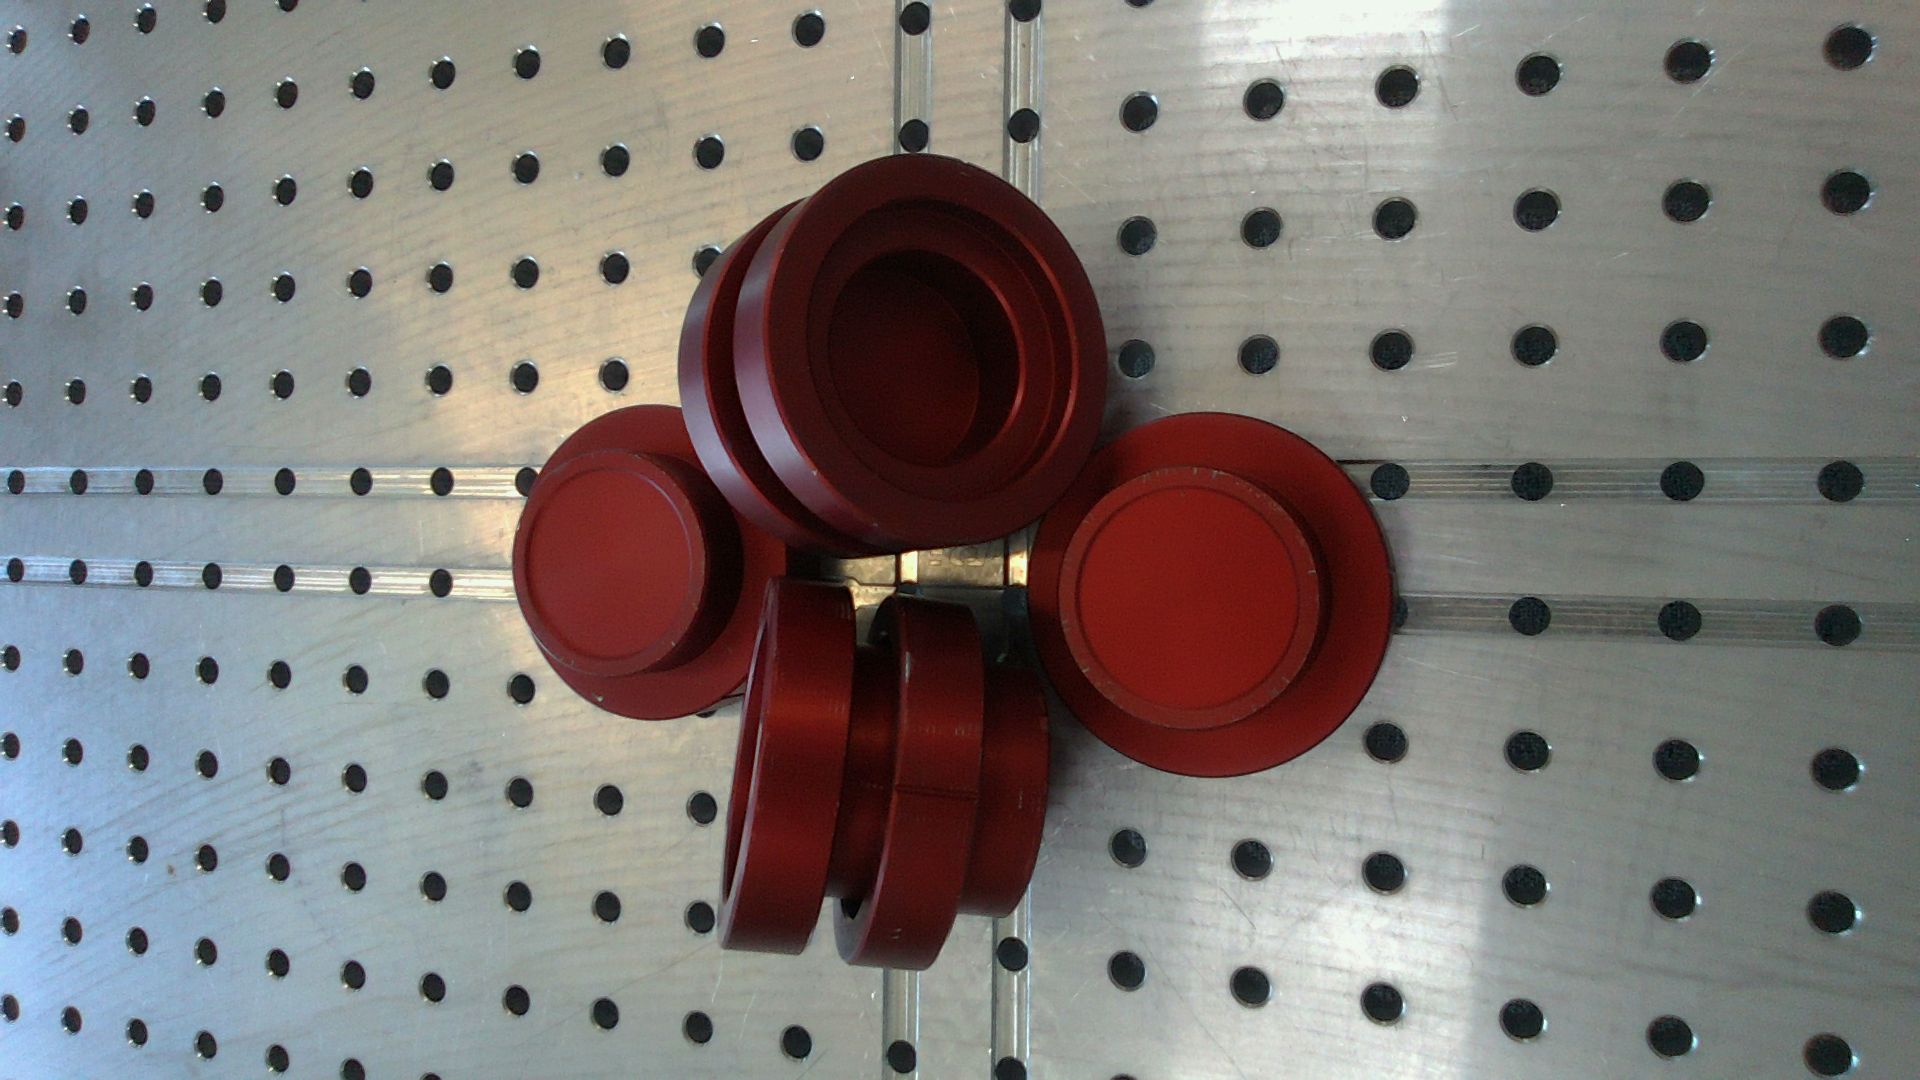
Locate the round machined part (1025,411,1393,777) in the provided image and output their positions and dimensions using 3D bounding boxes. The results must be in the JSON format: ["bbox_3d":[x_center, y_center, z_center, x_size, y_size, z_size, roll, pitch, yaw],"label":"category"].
[{"bbox_3d":[0.064,0.014,0.367,0.098,0.042,0.098,0,90,20],"label":"round machined part"}]

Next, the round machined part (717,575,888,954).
[{"bbox_3d":[-0.038,0.061,0.368,0.042,0.098,0.098,8,93,-12],"label":"round machined part"}]

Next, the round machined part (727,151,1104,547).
[{"bbox_3d":[-0.014,-0.046,0.357,0.042,0.098,0.098,-9,86,60],"label":"round machined part"}]

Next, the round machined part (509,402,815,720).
[{"bbox_3d":[-0.098,0.006,0.424,0.098,0.042,0.098,0,90,20],"label":"round machined part"}]

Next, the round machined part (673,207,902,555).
[{"bbox_3d":[-0.033,-0.044,0.383,0.042,0.098,0.098,-9,86,60],"label":"round machined part"}]

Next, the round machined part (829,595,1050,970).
[{"bbox_3d":[-0.006,0.066,0.371,0.042,0.098,0.098,9,94,-12],"label":"round machined part"}]
